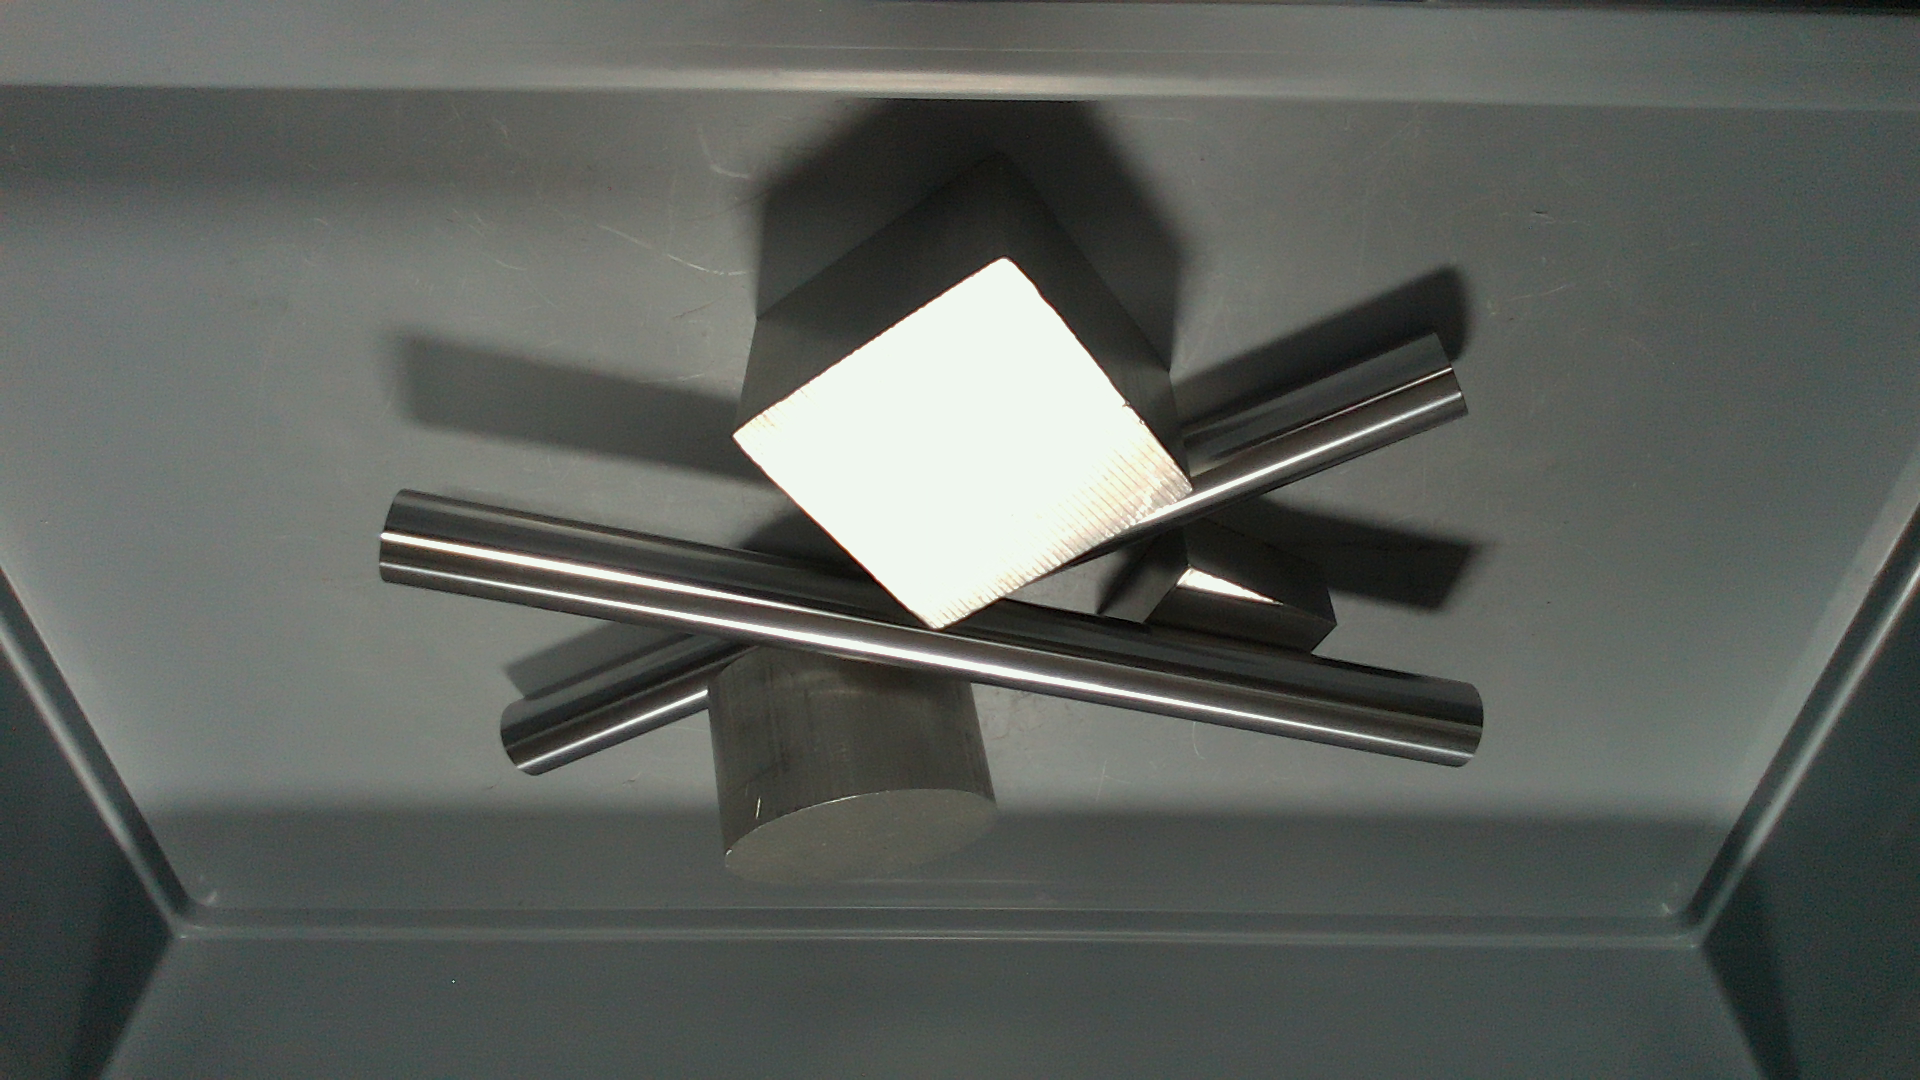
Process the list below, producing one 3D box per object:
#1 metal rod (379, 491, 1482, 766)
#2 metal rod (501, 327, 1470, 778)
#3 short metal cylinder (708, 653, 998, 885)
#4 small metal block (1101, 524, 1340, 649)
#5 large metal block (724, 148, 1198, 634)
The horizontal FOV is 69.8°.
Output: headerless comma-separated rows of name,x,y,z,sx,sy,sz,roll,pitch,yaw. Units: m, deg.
metal rod,0.000,0.027,0.379,0.300,0.025,0.025,11,129,-9
metal rod,-0.006,0.011,0.397,0.299,0.025,0.025,-22,127,17
short metal cylinder,-0.033,0.066,0.410,0.080,0.050,0.080,-10,152,-5
small metal block,0.075,0.026,0.409,0.050,0.025,0.050,21,127,-17
large metal block,0.001,-0.034,0.343,0.080,0.050,0.080,-29,124,22
